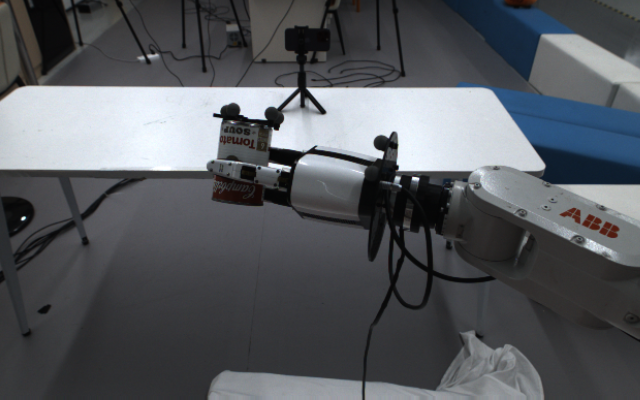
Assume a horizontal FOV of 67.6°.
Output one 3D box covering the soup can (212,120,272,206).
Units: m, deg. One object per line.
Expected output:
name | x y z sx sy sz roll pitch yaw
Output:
soup can | -0.099 -0.046 0.626 0.067 0.101 0.067 7 4 0
